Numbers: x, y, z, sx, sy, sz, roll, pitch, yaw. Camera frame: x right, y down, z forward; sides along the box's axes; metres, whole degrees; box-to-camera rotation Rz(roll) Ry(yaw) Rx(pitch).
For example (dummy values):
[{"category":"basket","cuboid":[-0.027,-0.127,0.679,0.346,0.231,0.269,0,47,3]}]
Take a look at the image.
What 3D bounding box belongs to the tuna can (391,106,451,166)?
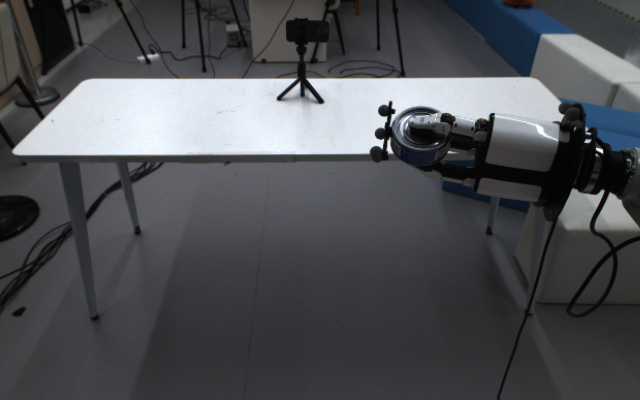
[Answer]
[{"category":"tuna can","cuboid":[0.149,-0.100,0.689,0.085,0.034,0.085,-2,57,3]}]
